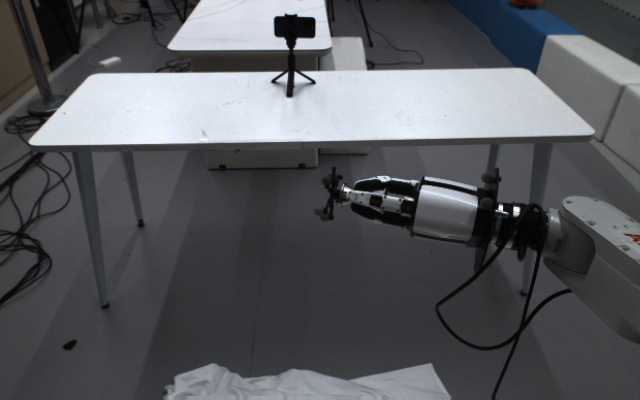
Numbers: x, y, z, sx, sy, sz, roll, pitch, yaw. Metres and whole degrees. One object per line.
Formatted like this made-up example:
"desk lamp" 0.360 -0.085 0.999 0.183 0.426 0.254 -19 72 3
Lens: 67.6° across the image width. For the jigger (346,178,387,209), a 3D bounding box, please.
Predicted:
"jigger" 0.074 -0.007 0.756 0.071 0.043 0.043 8 35 16
